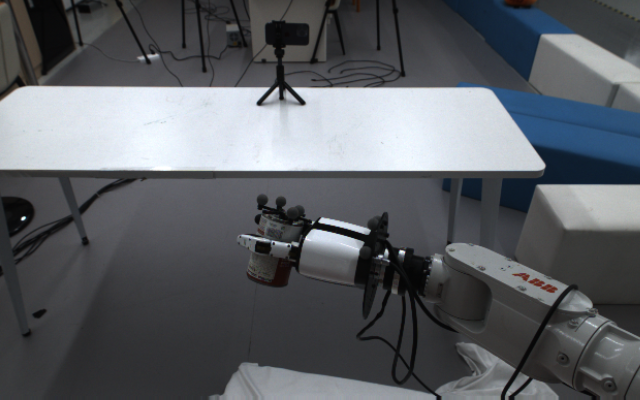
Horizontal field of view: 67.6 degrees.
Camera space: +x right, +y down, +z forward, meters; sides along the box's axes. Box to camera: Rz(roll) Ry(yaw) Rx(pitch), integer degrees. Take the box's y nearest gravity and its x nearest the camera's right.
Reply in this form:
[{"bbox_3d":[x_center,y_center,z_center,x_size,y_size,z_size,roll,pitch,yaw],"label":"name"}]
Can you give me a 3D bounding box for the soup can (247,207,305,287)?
[{"bbox_3d":[-0.068,0.075,0.740,0.067,0.101,0.067,15,7,-2],"label":"soup can"}]
